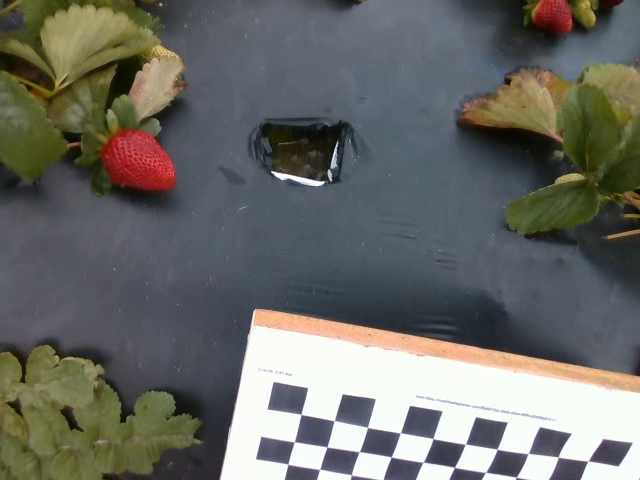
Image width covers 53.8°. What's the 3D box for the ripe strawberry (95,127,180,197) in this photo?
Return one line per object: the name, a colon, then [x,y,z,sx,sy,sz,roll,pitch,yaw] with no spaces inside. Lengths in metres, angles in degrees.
ripe strawberry: [-0.128,-0.052,0.444,0.064,0.046,0.048,33,32,22]
